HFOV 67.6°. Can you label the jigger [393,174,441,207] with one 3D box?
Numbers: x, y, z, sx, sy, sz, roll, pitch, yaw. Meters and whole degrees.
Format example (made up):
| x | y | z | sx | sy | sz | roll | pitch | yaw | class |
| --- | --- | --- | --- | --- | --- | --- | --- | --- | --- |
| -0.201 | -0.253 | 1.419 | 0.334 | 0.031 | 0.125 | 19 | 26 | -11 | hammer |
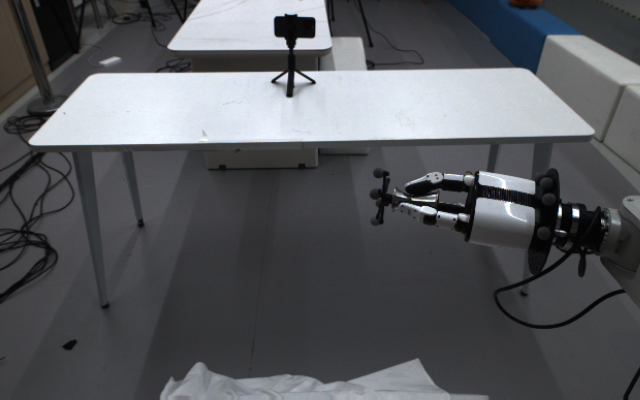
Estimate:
| x | y | z | sx | sy | sz | roll | pitch | yaw | class |
| --- | --- | --- | --- | --- | --- | --- | --- | --- | --- |
| 0.156 | 0.000 | 0.758 | 0.071 | 0.043 | 0.043 | 7 | 35 | 16 | jigger |
